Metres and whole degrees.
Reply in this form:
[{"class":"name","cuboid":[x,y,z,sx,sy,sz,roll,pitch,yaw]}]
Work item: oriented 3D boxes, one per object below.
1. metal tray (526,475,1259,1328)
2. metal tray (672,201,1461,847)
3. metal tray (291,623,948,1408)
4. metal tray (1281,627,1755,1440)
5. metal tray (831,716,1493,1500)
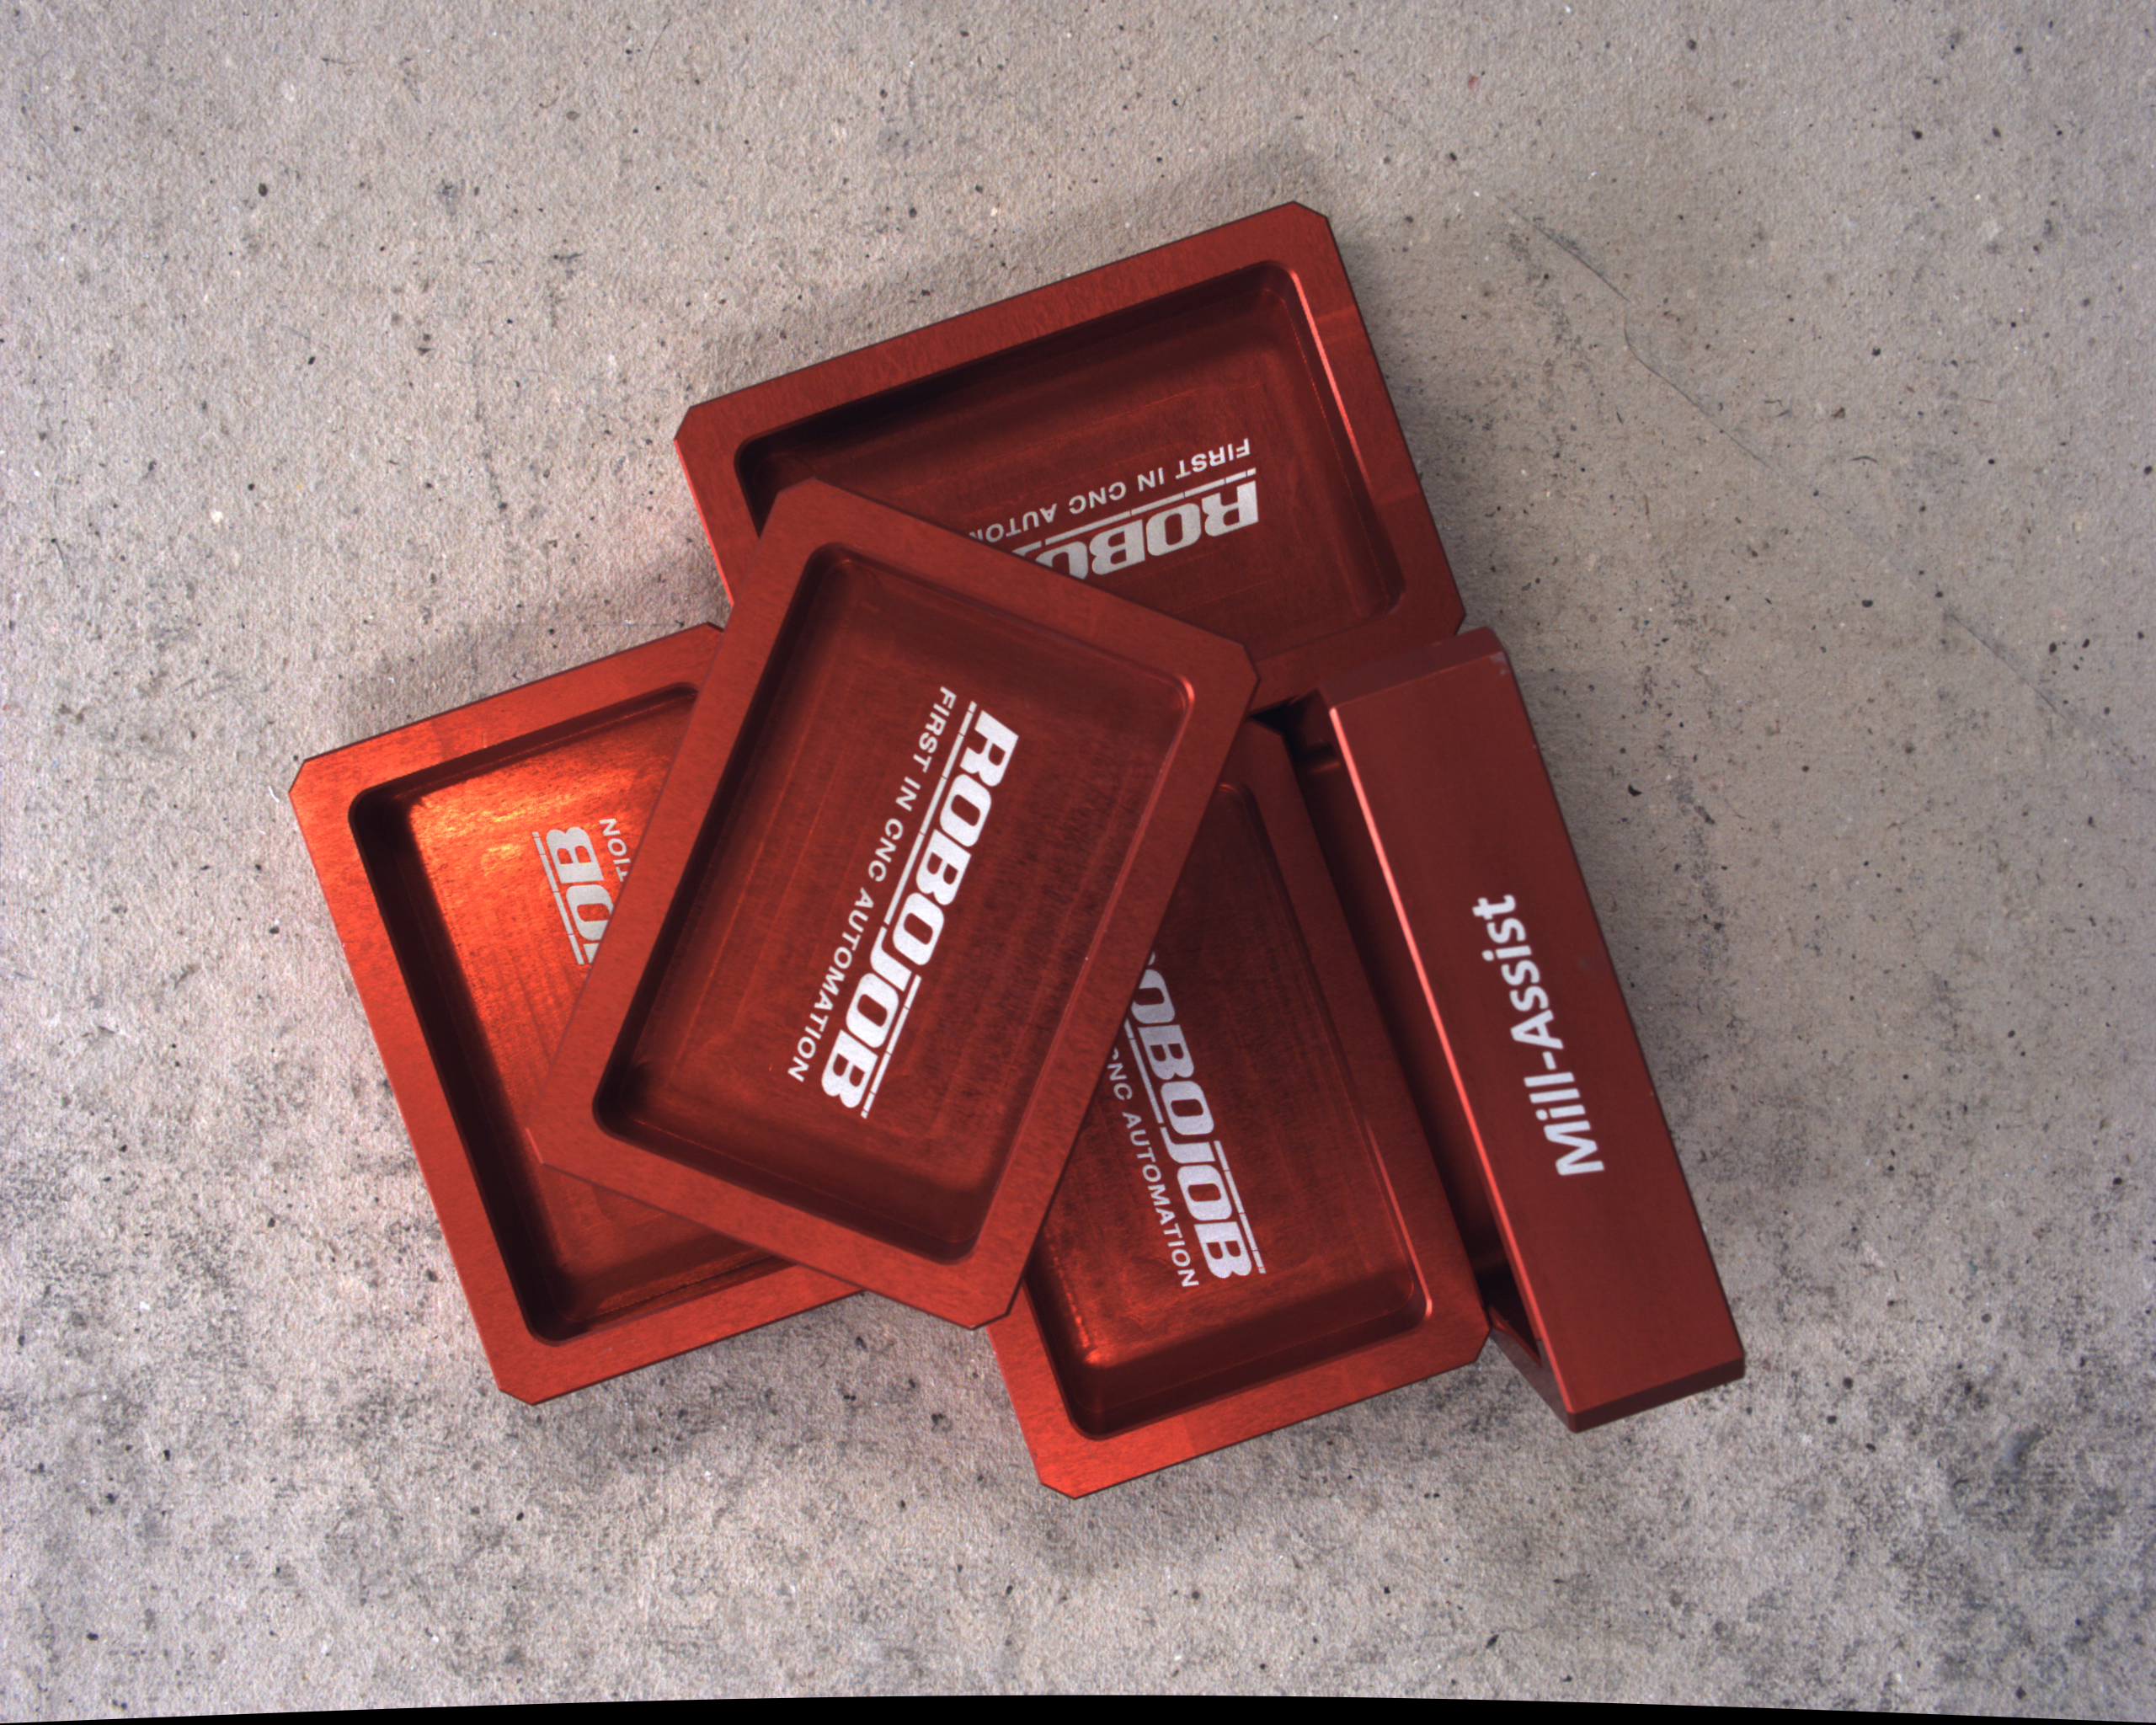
[{"class":"metal tray","cuboid":[-0.032,0.007,0.379,0.090,0.030,0.129,22,90,0]},{"class":"metal tray","cuboid":[-0.002,-0.064,0.409,0.131,0.030,0.090,-18,90,0]},{"class":"metal tray","cuboid":[-0.086,0.029,0.407,0.090,0.030,0.129,-19,90,0]},{"class":"metal tray","cuboid":[0.075,0.027,0.377,0.030,0.090,0.129,-18,91,0]},{"class":"metal tray","cuboid":[0.016,0.046,0.407,0.090,0.030,0.129,-19,91,1]}]
